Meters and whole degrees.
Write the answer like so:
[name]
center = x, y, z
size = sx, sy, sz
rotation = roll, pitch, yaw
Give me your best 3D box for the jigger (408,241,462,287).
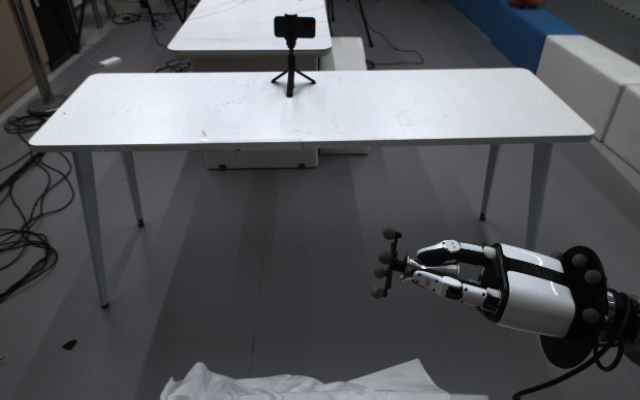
[jigger]
center = 0.151, 0.093, 0.640
size = 0.071, 0.043, 0.043
rotation = 12, 35, 4
